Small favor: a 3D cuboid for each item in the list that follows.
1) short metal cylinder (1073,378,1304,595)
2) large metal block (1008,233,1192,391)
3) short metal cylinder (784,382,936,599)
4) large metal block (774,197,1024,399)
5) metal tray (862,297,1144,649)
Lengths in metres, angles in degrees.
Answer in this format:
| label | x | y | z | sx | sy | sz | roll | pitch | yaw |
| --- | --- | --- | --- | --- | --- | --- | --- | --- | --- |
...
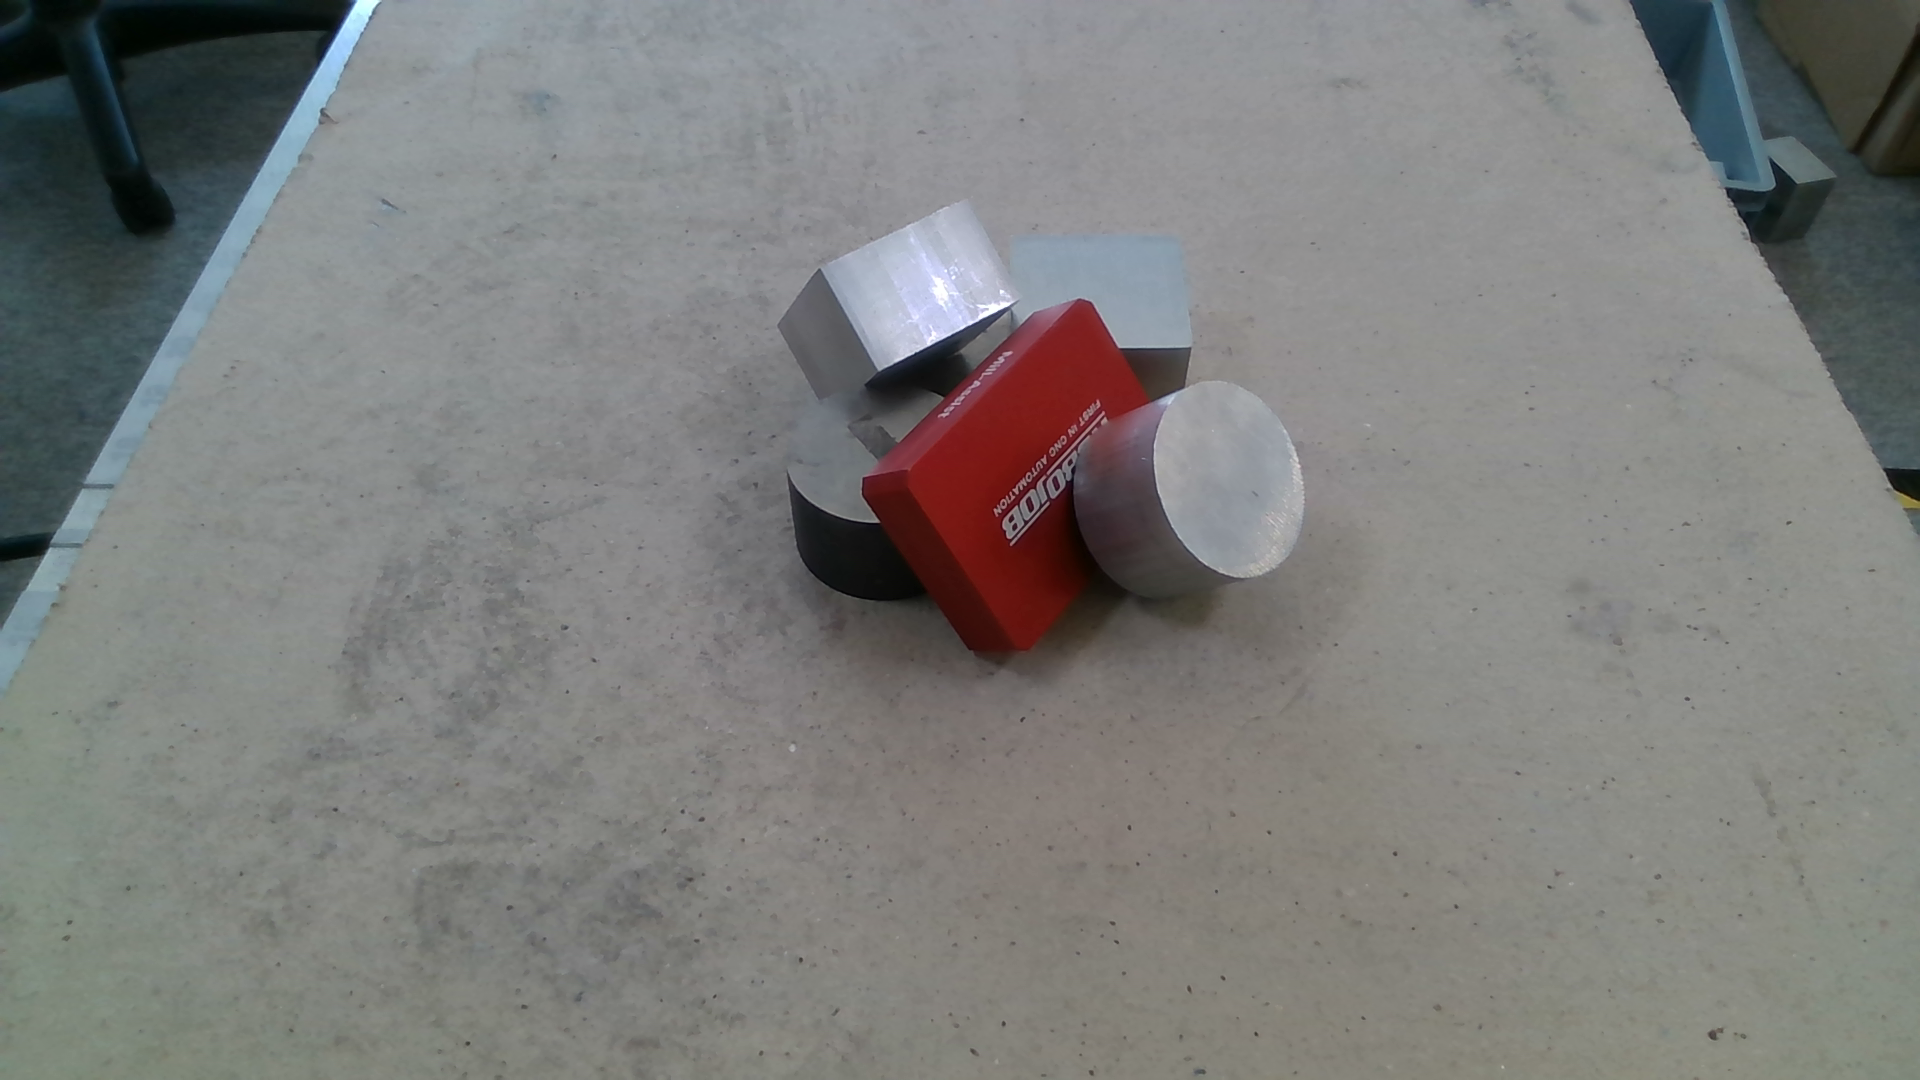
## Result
| label | x | y | z | sx | sy | sz | roll | pitch | yaw |
| --- | --- | --- | --- | --- | --- | --- | --- | --- | --- |
| short metal cylinder | 0.093 | -0.020 | 0.562 | 0.080 | 0.050 | 0.080 | 8 | 74 | -31 |
| large metal block | 0.063 | -0.100 | 0.652 | 0.080 | 0.050 | 0.080 | 1 | 50 | 1 |
| short metal cylinder | -0.033 | -0.022 | 0.590 | 0.080 | 0.050 | 0.080 | 0 | 50 | 0 |
| large metal block | -0.030 | -0.105 | 0.630 | 0.080 | 0.080 | 0.050 | -30 | 92 | -23 |
| metal tray | 0.029 | -0.028 | 0.570 | 0.030 | 0.090 | 0.130 | -6 | 34 | 51 |
